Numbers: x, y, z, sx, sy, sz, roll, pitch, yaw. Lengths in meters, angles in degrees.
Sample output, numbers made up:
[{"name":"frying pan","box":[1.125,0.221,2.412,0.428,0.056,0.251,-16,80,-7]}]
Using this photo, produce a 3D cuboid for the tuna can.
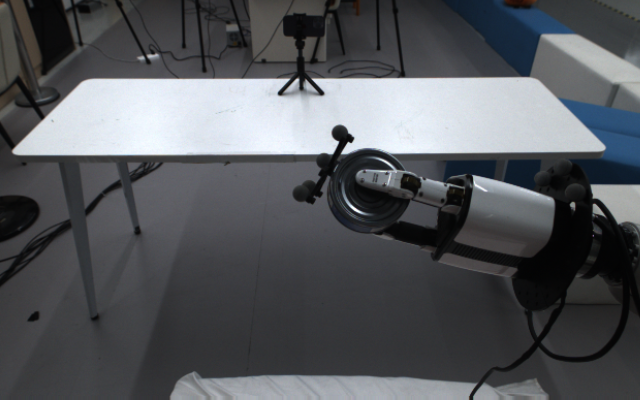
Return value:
[{"name":"tuna can","box":[0.054,-0.012,0.508,0.085,0.034,0.085,1,75,-5]}]
